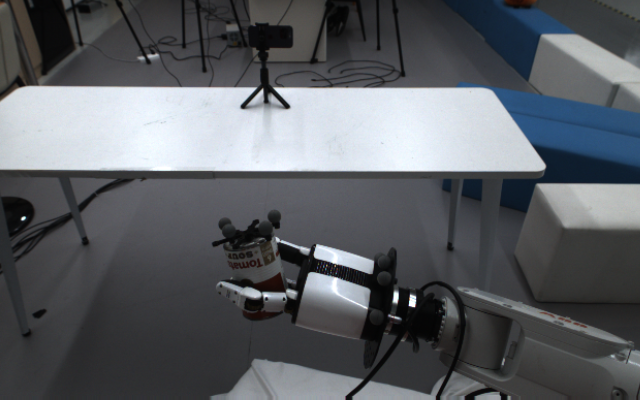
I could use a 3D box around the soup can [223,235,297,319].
[{"bbox_3d":[-0.078,0.095,0.625,0.067,0.101,0.067,-12,17,4],"label":"soup can"}]
